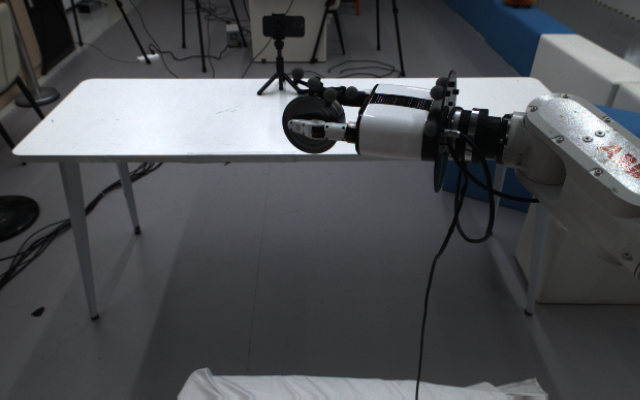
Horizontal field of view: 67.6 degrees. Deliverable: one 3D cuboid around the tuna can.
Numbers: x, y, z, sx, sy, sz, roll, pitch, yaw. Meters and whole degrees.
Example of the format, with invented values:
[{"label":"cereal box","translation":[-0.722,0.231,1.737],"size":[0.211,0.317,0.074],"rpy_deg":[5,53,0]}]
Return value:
[{"label":"tuna can","translation":[-0.007,-0.111,0.689],"size":[0.085,0.085,0.034],"rpy_deg":[12,30,15]}]
